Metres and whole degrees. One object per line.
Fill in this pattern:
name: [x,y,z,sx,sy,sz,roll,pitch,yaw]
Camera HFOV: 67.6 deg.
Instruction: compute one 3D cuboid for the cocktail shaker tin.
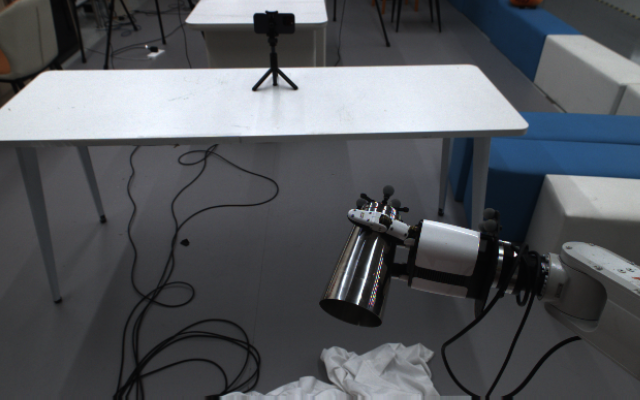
cocktail shaker tin: [0.068,0.087,0.719,0.093,0.093,0.170,13,59,16]
